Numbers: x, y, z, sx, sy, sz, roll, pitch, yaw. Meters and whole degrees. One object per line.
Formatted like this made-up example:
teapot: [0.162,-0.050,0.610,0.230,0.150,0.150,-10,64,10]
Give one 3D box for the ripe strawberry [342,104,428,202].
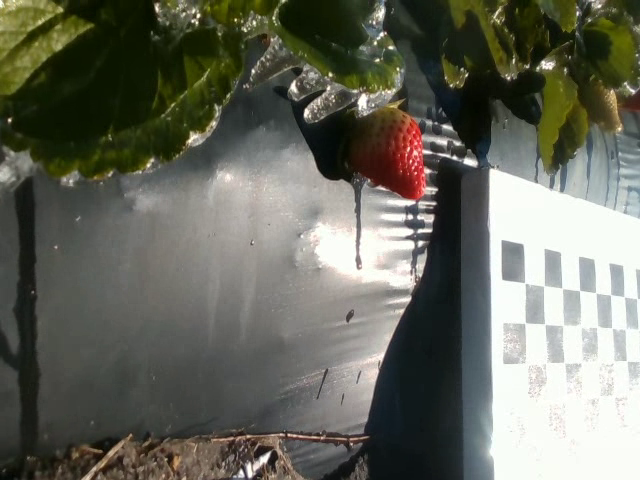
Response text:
ripe strawberry: [0.036,-0.039,0.286,0.039,0.053,0.041,-20,-8,-41]
